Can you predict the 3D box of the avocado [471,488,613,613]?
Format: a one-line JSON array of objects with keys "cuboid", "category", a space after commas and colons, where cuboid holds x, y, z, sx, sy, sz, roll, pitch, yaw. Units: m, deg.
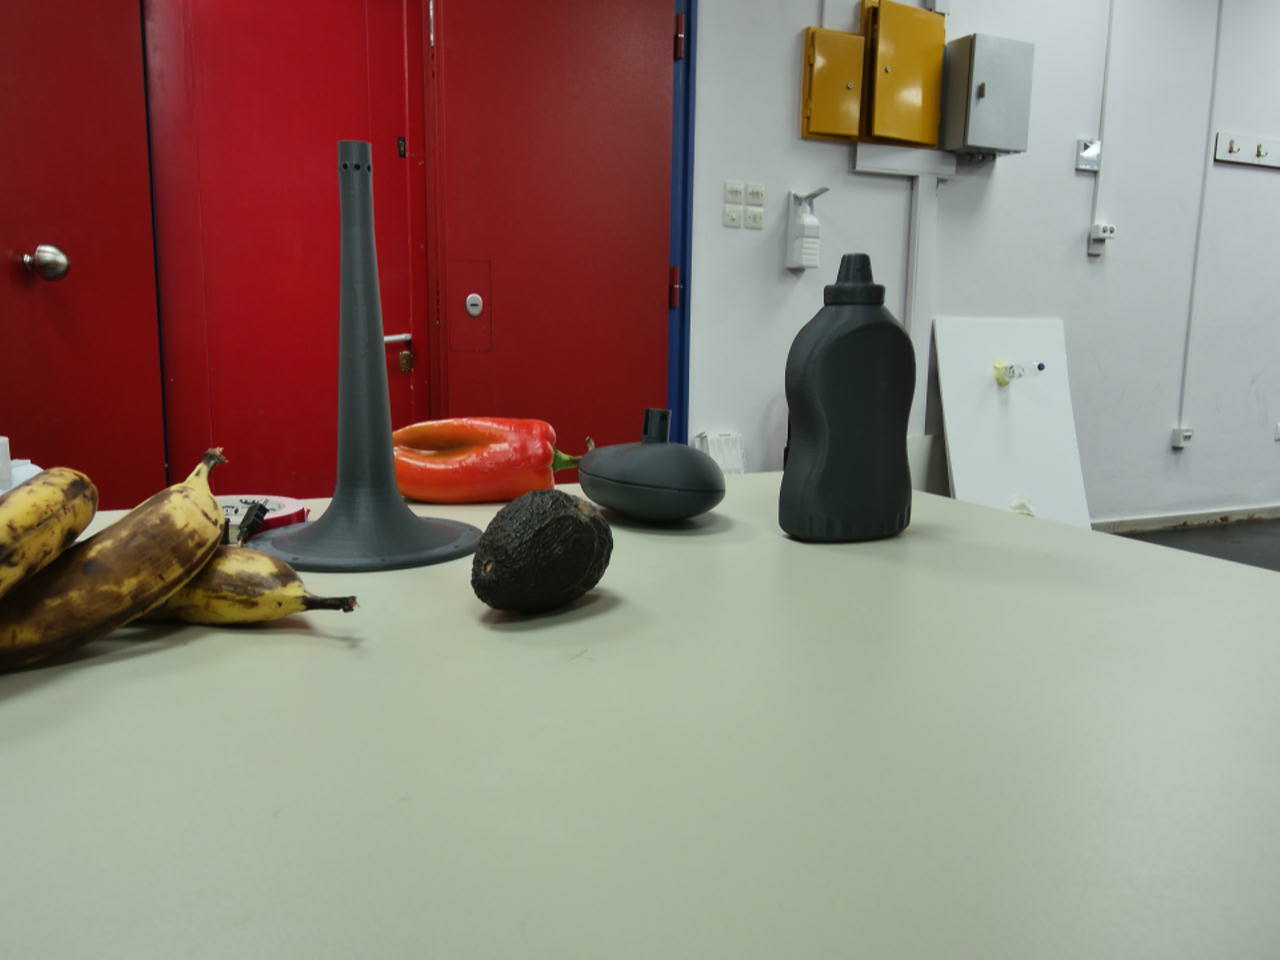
[{"cuboid": [-0.053, 0.036, 0.522, 0.062, 0.062, 0.092, 6, 9, 41], "category": "avocado"}]
